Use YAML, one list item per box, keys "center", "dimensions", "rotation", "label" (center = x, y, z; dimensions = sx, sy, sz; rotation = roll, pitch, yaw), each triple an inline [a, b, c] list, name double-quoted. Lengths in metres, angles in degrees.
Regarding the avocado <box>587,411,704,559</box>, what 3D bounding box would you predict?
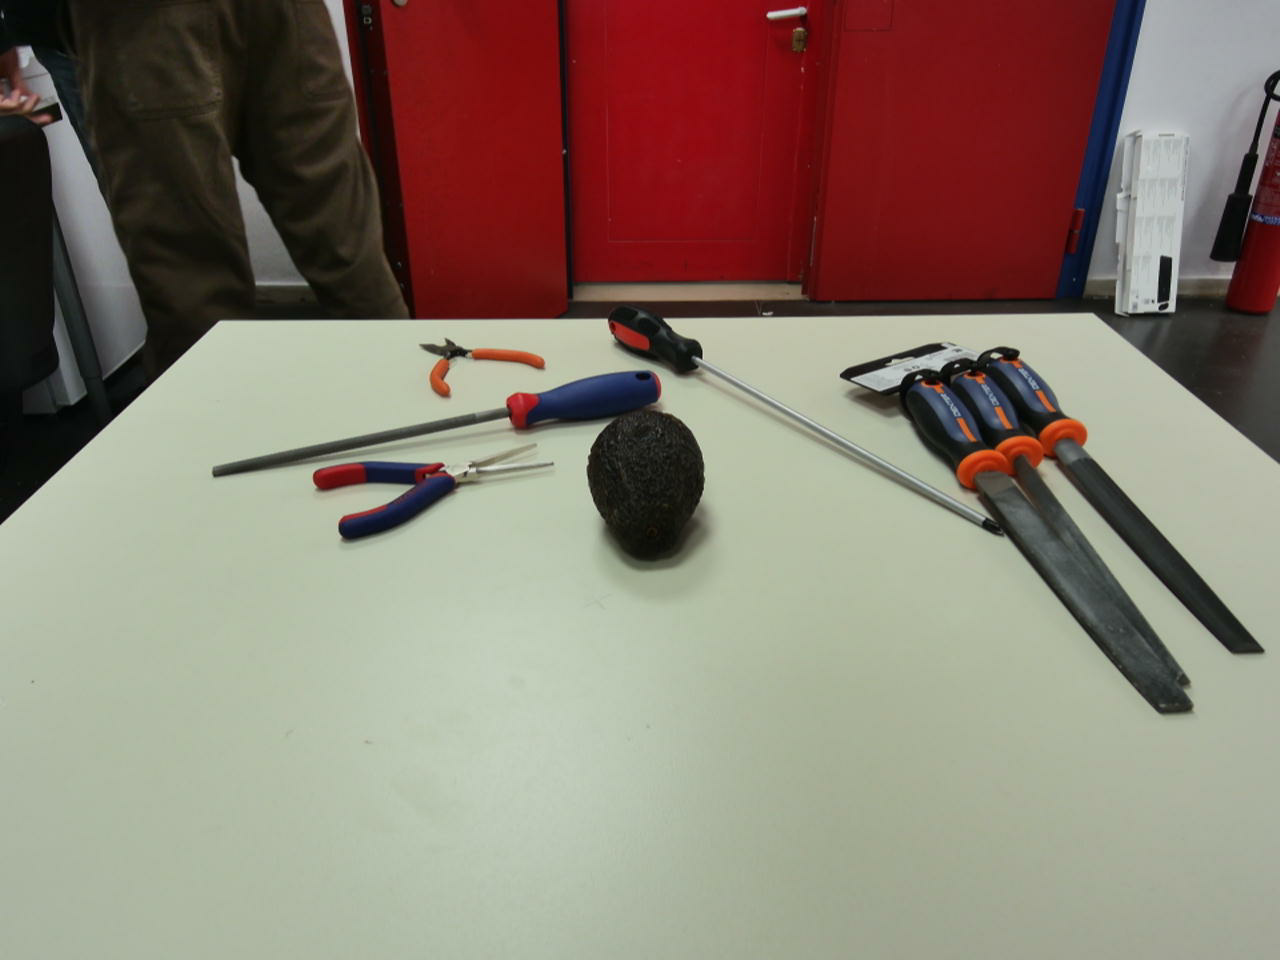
- center: [0.001, -0.002, 0.581]
  dimensions: [0.070, 0.069, 0.090]
  rotation: [11, 29, 22]
  label: "avocado"
